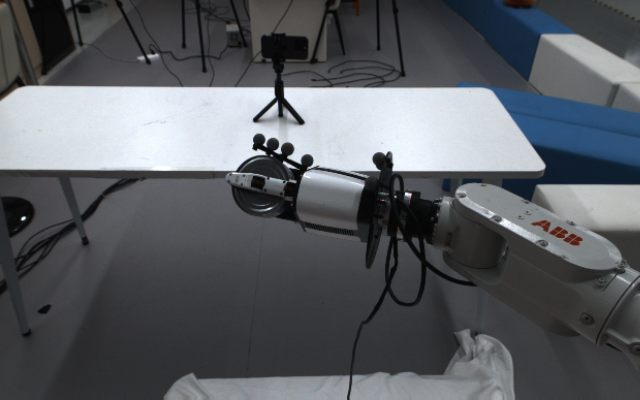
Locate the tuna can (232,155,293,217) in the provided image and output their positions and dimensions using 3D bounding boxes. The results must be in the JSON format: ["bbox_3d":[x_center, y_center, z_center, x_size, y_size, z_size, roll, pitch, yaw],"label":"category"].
[{"bbox_3d":[-0.076,-0.020,0.679,0.085,0.085,0.034,13,-6,16],"label":"tuna can"}]
